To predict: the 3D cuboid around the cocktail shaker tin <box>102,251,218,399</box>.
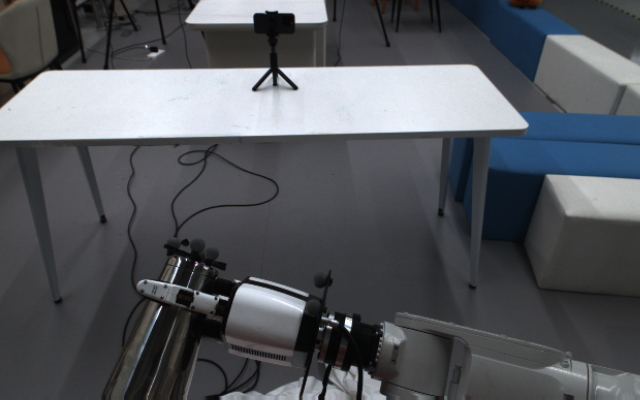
[{"bbox_3d":[-0.180,0.157,0.579,0.093,0.093,0.170,12,72,14],"label":"cocktail shaker tin"}]
